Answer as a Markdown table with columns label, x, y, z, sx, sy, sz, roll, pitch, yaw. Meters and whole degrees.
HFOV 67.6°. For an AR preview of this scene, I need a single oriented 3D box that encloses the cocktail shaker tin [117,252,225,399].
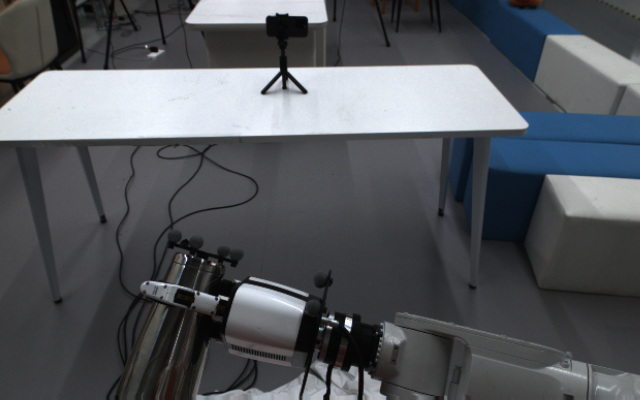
| label | x | y | z | sx | sy | sz | roll | pitch | yaw |
| --- | --- | --- | --- | --- | --- | --- | --- | --- | --- |
| cocktail shaker tin | -0.168 | 0.153 | 0.587 | 0.093 | 0.093 | 0.170 | 13 | 79 | 15 |
